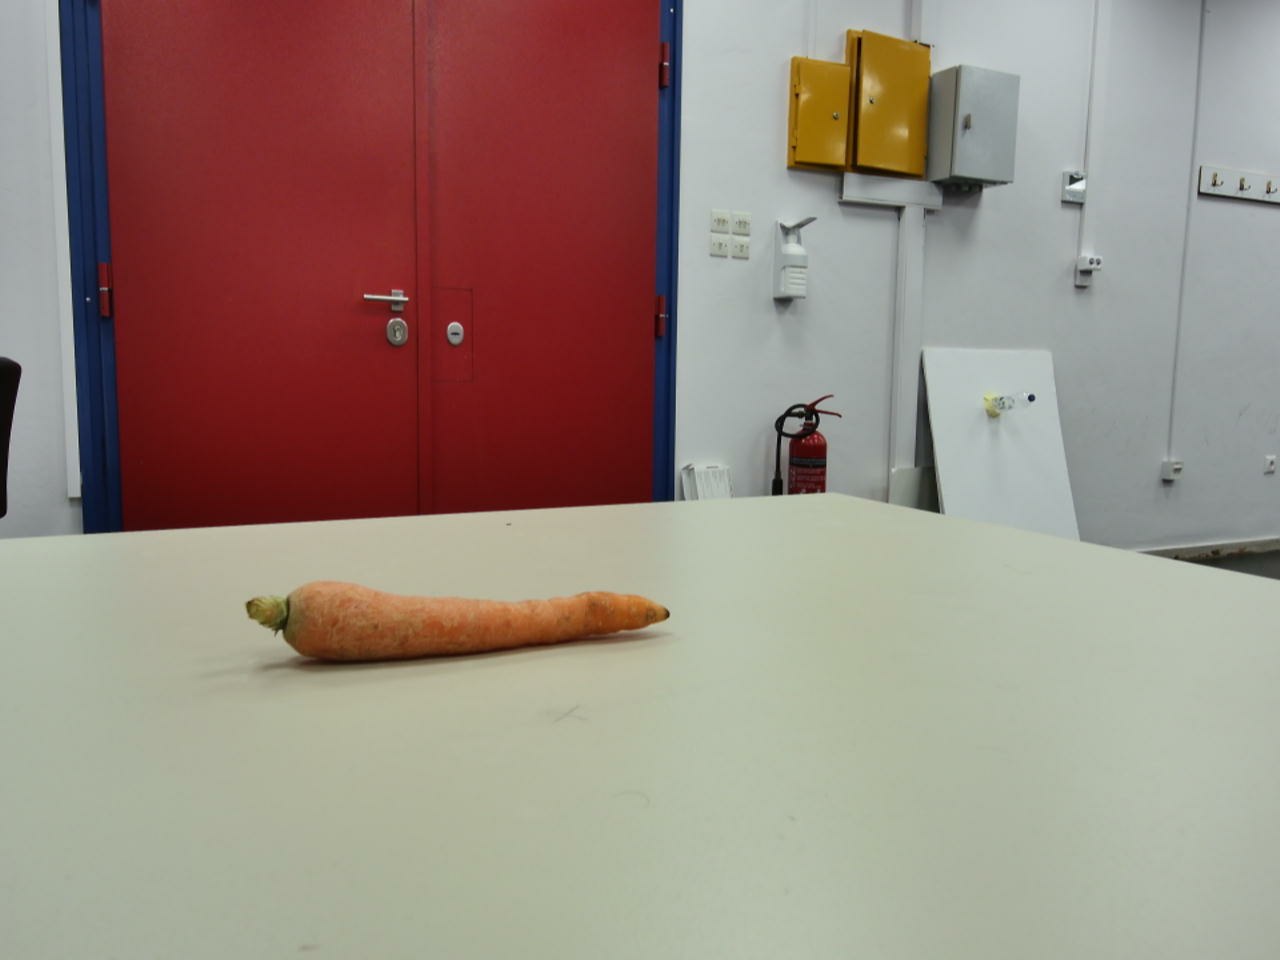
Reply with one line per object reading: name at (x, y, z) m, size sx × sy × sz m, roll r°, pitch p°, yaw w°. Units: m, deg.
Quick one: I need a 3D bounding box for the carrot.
carrot at (-0.069, 0.054, 0.408) m, size 0.173 × 0.032 × 0.030 m, roll -1°, pitch 4°, yaw -17°
